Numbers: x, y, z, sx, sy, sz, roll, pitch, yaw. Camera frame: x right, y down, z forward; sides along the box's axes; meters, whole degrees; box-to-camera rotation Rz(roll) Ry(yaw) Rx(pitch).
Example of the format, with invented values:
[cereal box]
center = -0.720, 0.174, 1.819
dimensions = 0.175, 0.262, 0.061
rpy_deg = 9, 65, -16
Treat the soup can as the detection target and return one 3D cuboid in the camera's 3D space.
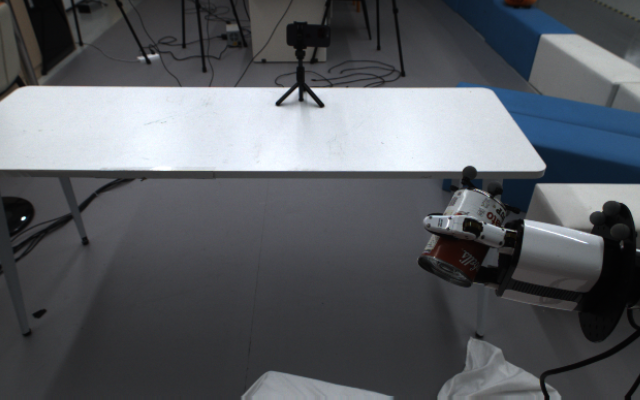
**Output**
[soup can]
center = 0.173, 0.043, 0.581
dimensions = 0.067, 0.067, 0.101
rpy_deg = 24, 72, 28
